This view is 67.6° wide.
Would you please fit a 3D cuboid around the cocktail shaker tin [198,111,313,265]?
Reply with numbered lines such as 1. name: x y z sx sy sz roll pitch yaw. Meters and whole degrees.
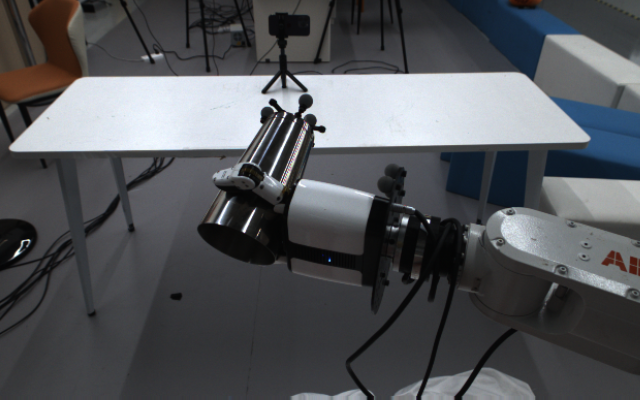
1. cocktail shaker tin: -0.066 -0.020 0.568 0.093 0.093 0.170 13 60 16
